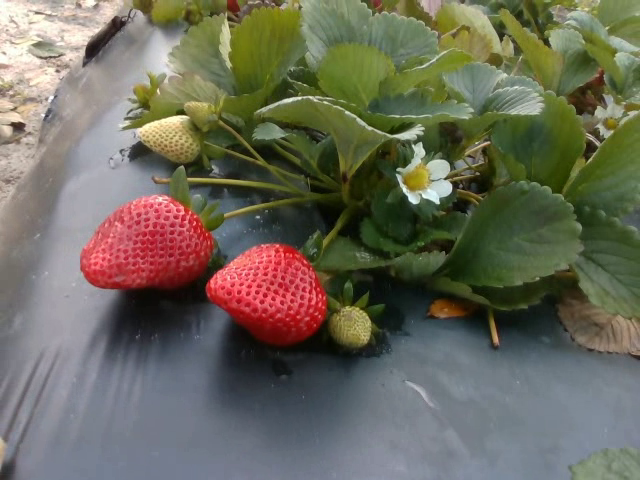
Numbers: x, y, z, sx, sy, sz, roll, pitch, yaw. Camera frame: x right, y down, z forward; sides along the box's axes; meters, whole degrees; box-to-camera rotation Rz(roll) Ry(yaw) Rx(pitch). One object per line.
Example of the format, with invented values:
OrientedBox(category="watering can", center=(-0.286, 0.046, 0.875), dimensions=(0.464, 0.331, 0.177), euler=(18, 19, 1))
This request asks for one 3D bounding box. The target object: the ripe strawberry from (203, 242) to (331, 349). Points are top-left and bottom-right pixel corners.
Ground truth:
OrientedBox(category="ripe strawberry", center=(-0.027, 0.021, 0.256), dimensions=(0.050, 0.051, 0.059), euler=(-13, -13, 36))

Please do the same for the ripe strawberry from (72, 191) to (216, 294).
OrientedBox(category="ripe strawberry", center=(-0.086, 0.004, 0.280), dimensions=(0.058, 0.044, 0.065), euler=(-9, 22, 40))
